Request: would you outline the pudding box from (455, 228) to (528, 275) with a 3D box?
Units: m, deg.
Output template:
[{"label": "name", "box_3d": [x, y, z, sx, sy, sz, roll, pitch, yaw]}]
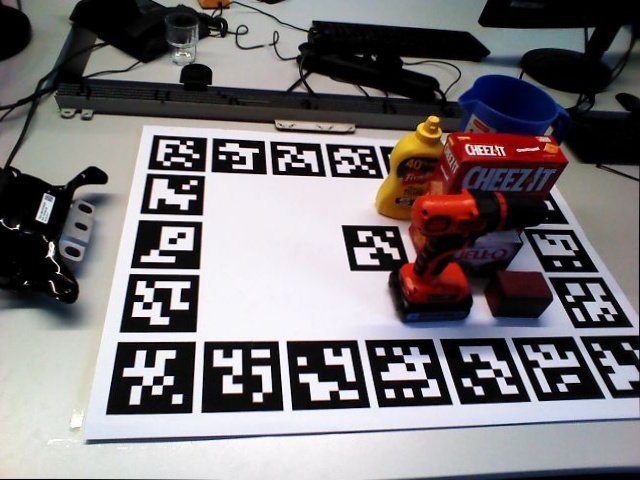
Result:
[{"label": "pudding box", "box_3d": [0.253, 0.012, 0.798, 0.114, 0.090, 0.038, 0, 47, -5]}]

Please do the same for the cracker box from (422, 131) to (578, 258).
[{"label": "cracker box", "box_3d": [0.263, -0.059, 0.791, 0.164, 0.214, 0.071, -2, 47, -8]}]

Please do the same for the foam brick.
[{"label": "foam brick", "box_3d": [0.311, 0.083, 0.788, 0.078, 0.051, 0.052, 3, 50, -7]}]

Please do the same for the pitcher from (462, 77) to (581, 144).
[{"label": "pitcher", "box_3d": [0.302, -0.138, 0.861, 0.189, 0.244, 0.132, 5, 48, -3]}]

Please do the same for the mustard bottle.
[{"label": "mustard bottle", "box_3d": [0.169, -0.133, 0.850, 0.096, 0.192, 0.058, 11, 49, 1]}]

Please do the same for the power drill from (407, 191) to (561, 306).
[{"label": "power drill", "box_3d": [0.206, 0.011, 0.698, 0.184, 0.188, 0.057, 1, 45, -10]}]
